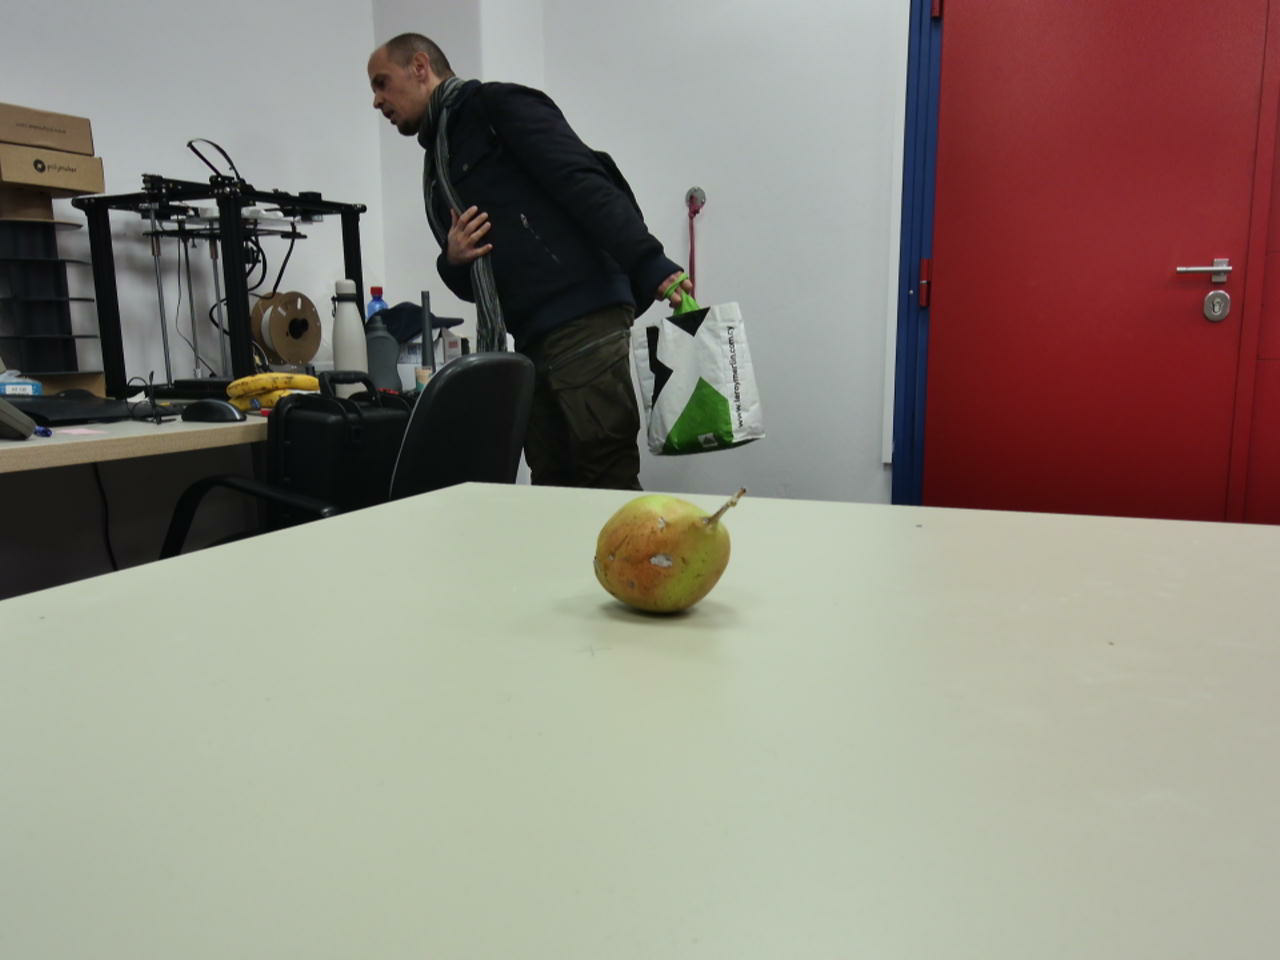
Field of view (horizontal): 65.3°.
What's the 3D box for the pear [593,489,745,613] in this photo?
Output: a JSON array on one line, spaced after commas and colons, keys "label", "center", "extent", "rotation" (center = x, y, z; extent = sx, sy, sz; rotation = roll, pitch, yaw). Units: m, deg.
[{"label": "pear", "center": [0.012, 0.036, 0.530], "extent": [0.068, 0.069, 0.070], "rotation": [-1, 6, -15]}]
